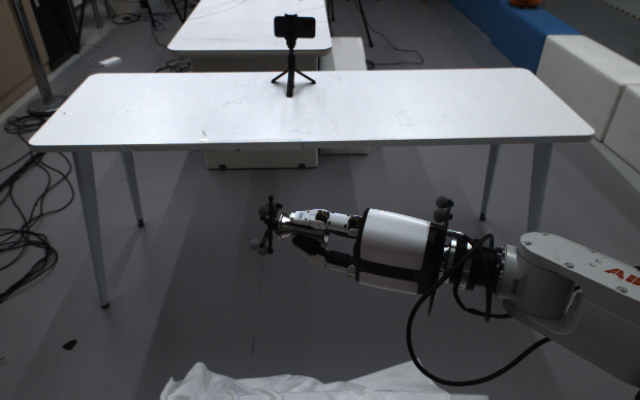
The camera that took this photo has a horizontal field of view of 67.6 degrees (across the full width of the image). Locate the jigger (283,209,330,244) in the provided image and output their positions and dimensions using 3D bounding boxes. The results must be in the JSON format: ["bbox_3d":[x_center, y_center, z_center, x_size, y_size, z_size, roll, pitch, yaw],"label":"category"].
[{"bbox_3d":[-0.016,0.037,0.692,0.071,0.043,0.043,6,35,11],"label":"jigger"}]
